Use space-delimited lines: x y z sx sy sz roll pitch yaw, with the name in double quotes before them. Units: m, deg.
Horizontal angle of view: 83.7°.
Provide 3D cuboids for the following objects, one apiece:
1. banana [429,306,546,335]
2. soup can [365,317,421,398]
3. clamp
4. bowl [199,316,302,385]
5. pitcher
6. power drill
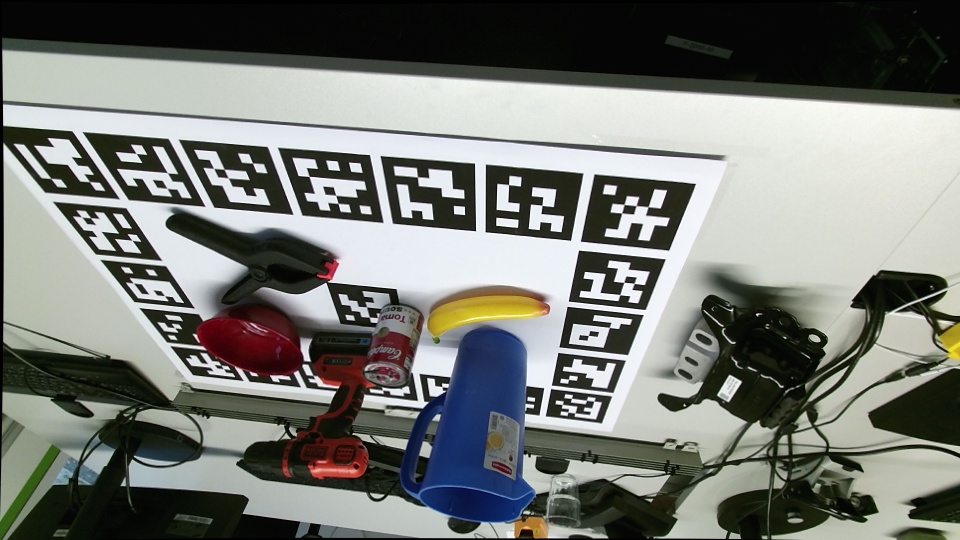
"banana" 0.001 0.078 0.744 0.198 0.038 0.074 -13 141 25
"soup can" -0.126 0.127 0.770 0.068 0.101 0.068 5 145 4
"clamp" -0.292 0.015 0.715 0.203 0.036 0.165 3 133 7
"bowl" -0.349 0.120 0.834 0.162 0.055 0.162 5 136 5
"pitcher" -0.013 0.230 0.756 0.189 0.241 0.133 -13 136 23
"power drill" -0.249 0.229 0.810 0.185 0.186 0.057 1 136 9
